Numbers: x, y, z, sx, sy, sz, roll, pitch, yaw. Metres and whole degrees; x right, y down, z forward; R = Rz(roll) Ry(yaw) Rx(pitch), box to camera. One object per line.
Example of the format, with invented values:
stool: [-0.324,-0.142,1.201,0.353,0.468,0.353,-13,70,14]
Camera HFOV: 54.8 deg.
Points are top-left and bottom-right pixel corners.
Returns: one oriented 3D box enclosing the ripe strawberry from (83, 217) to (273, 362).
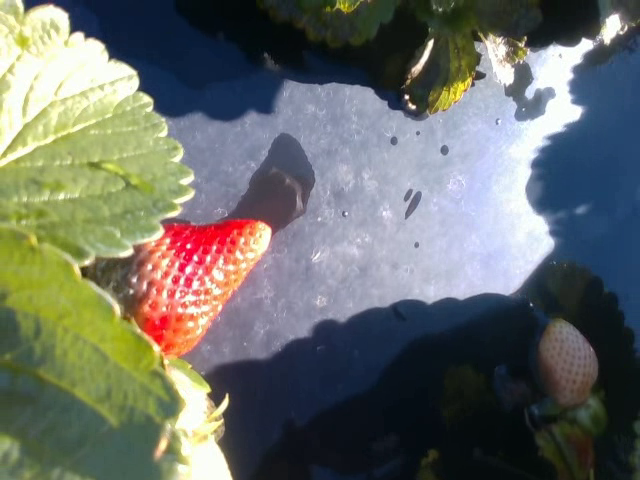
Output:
ripe strawberry: [-0.041,0.009,0.191,0.064,0.050,0.052,-34,52,-11]
